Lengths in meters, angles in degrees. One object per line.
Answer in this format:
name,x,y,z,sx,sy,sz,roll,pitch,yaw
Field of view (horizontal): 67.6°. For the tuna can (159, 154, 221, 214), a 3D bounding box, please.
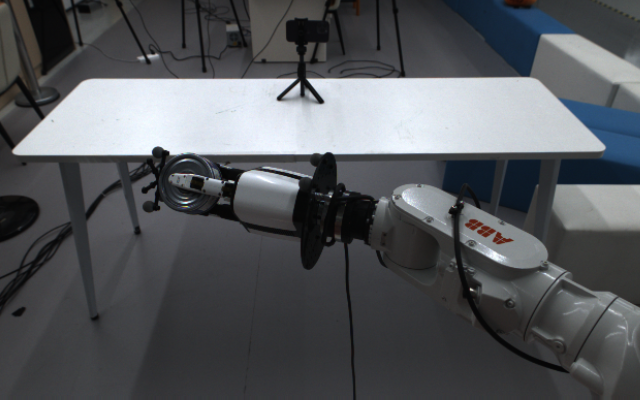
tuna can,-0.181,-0.020,0.684,0.085,0.085,0.034,10,-5,11
